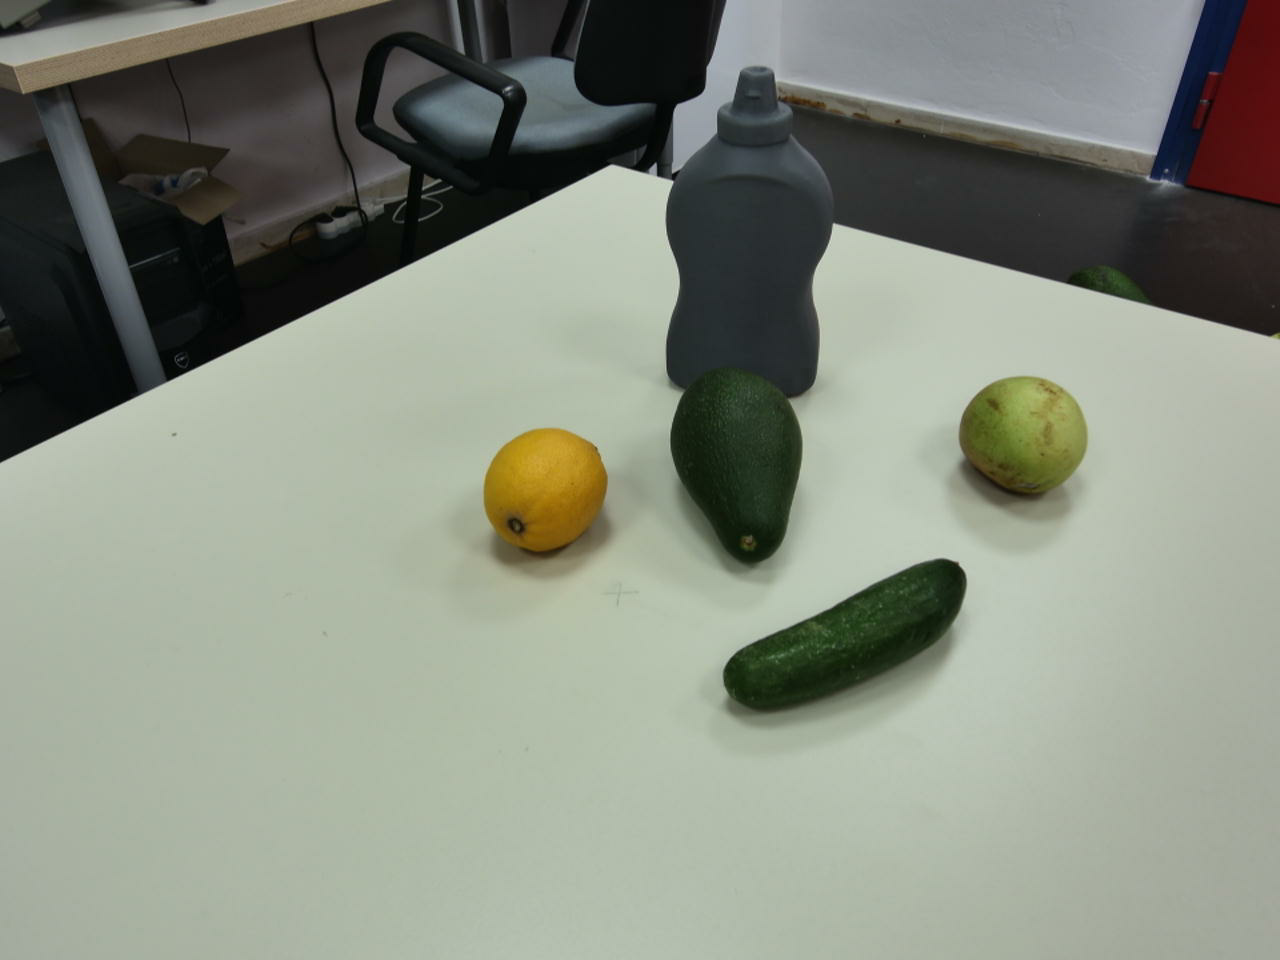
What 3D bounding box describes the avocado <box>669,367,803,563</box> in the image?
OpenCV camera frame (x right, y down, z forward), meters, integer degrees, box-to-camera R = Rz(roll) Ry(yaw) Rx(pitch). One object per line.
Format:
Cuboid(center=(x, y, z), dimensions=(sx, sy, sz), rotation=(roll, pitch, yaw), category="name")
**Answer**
Cuboid(center=(0.048, -0.012, 0.525), dimensions=(0.073, 0.071, 0.109), rotation=(9, 38, 12), category="avocado")
